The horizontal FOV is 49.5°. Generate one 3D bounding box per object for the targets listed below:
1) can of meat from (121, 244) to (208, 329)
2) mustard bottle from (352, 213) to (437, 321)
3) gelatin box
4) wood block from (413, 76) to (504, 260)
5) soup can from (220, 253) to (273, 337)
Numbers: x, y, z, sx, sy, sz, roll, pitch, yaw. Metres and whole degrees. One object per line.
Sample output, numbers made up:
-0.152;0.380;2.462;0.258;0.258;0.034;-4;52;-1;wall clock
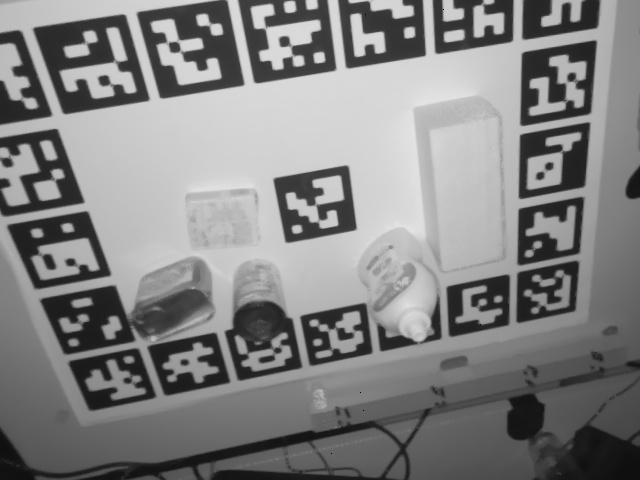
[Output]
-0.197;0.057;0.896;0.101;0.084;0.057;-22;118;6;can of meat
0.098;0.042;0.878;0.095;0.192;0.058;-32;118;12;mustard bottle
-0.137;-0.048;0.874;0.090;0.030;0.072;-3;116;-10;gelatin box
0.175;-0.088;0.873;0.091;0.090;0.205;-9;123;-1;wood block
-0.096;0.068;0.897;0.068;0.102;0.067;-4;117;-6;soup can
